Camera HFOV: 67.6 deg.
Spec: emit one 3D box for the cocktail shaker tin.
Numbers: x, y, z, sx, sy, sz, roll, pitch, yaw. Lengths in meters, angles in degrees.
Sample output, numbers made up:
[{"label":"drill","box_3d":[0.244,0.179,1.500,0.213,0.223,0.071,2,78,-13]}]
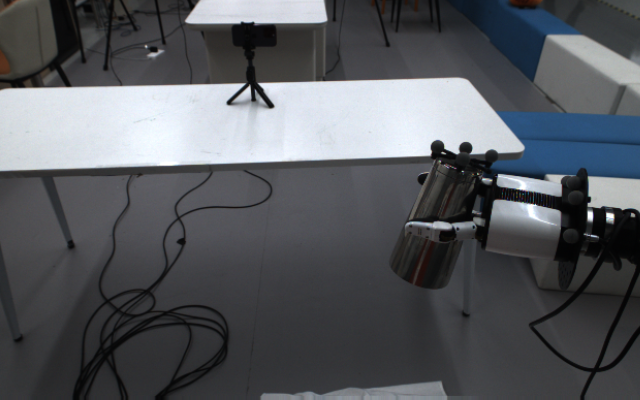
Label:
[{"label":"cocktail shaker tin","box_3d":[0.168,0.025,0.676,0.093,0.170,0.093,12,24,-5]}]
